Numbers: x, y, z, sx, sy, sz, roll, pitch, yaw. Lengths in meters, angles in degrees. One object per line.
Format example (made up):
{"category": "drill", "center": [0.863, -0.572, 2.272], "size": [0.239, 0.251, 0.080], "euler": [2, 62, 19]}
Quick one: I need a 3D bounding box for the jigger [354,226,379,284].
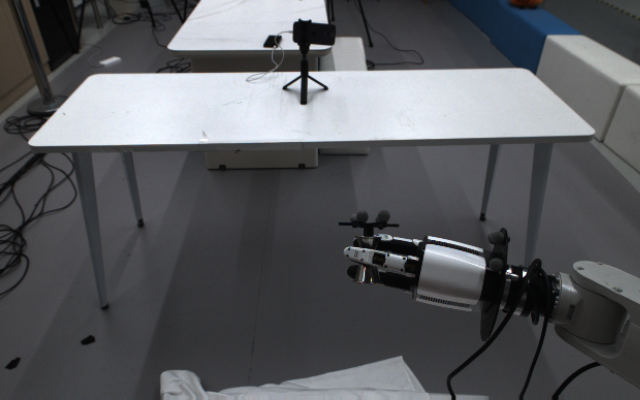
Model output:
{"category": "jigger", "center": [0.070, 0.087, 0.713], "size": [0.043, 0.071, 0.043], "euler": [1, -6, 0]}
